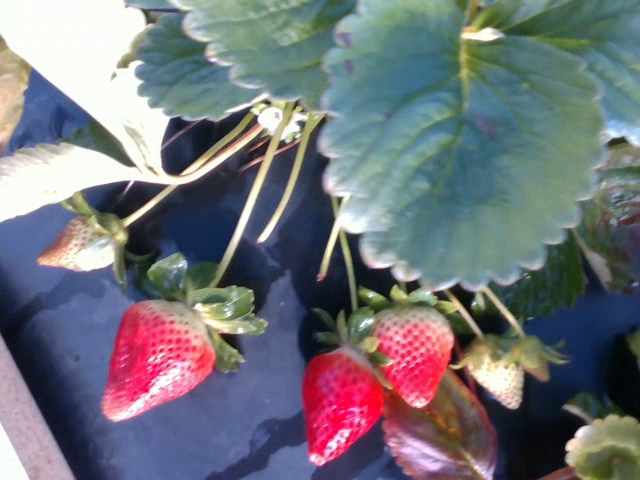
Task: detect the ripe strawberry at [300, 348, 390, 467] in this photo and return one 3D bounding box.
[{"bbox_3d":[0.004,0.076,0.271,0.044,0.055,0.042,2,-36,38],"label":"ripe strawberry"}]

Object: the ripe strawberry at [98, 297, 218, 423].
[{"bbox_3d":[-0.079,0.057,0.277,0.050,0.065,0.050,28,-26,30],"label":"ripe strawberry"}]
